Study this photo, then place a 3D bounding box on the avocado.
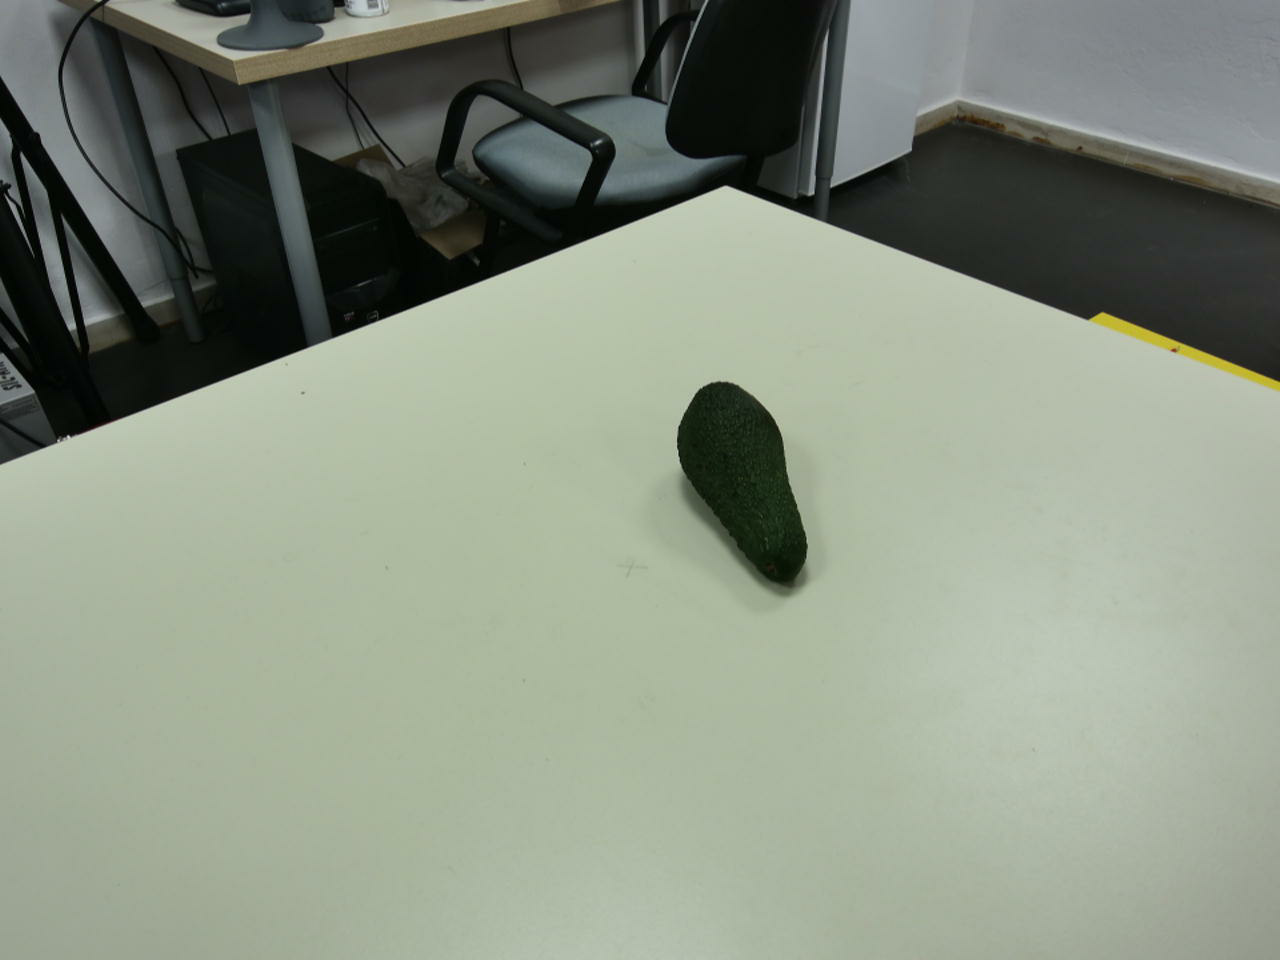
[{"bbox_3d":[0.067,-0.006,0.585,0.063,0.067,0.141,-17,39,-20],"label":"avocado"}]
